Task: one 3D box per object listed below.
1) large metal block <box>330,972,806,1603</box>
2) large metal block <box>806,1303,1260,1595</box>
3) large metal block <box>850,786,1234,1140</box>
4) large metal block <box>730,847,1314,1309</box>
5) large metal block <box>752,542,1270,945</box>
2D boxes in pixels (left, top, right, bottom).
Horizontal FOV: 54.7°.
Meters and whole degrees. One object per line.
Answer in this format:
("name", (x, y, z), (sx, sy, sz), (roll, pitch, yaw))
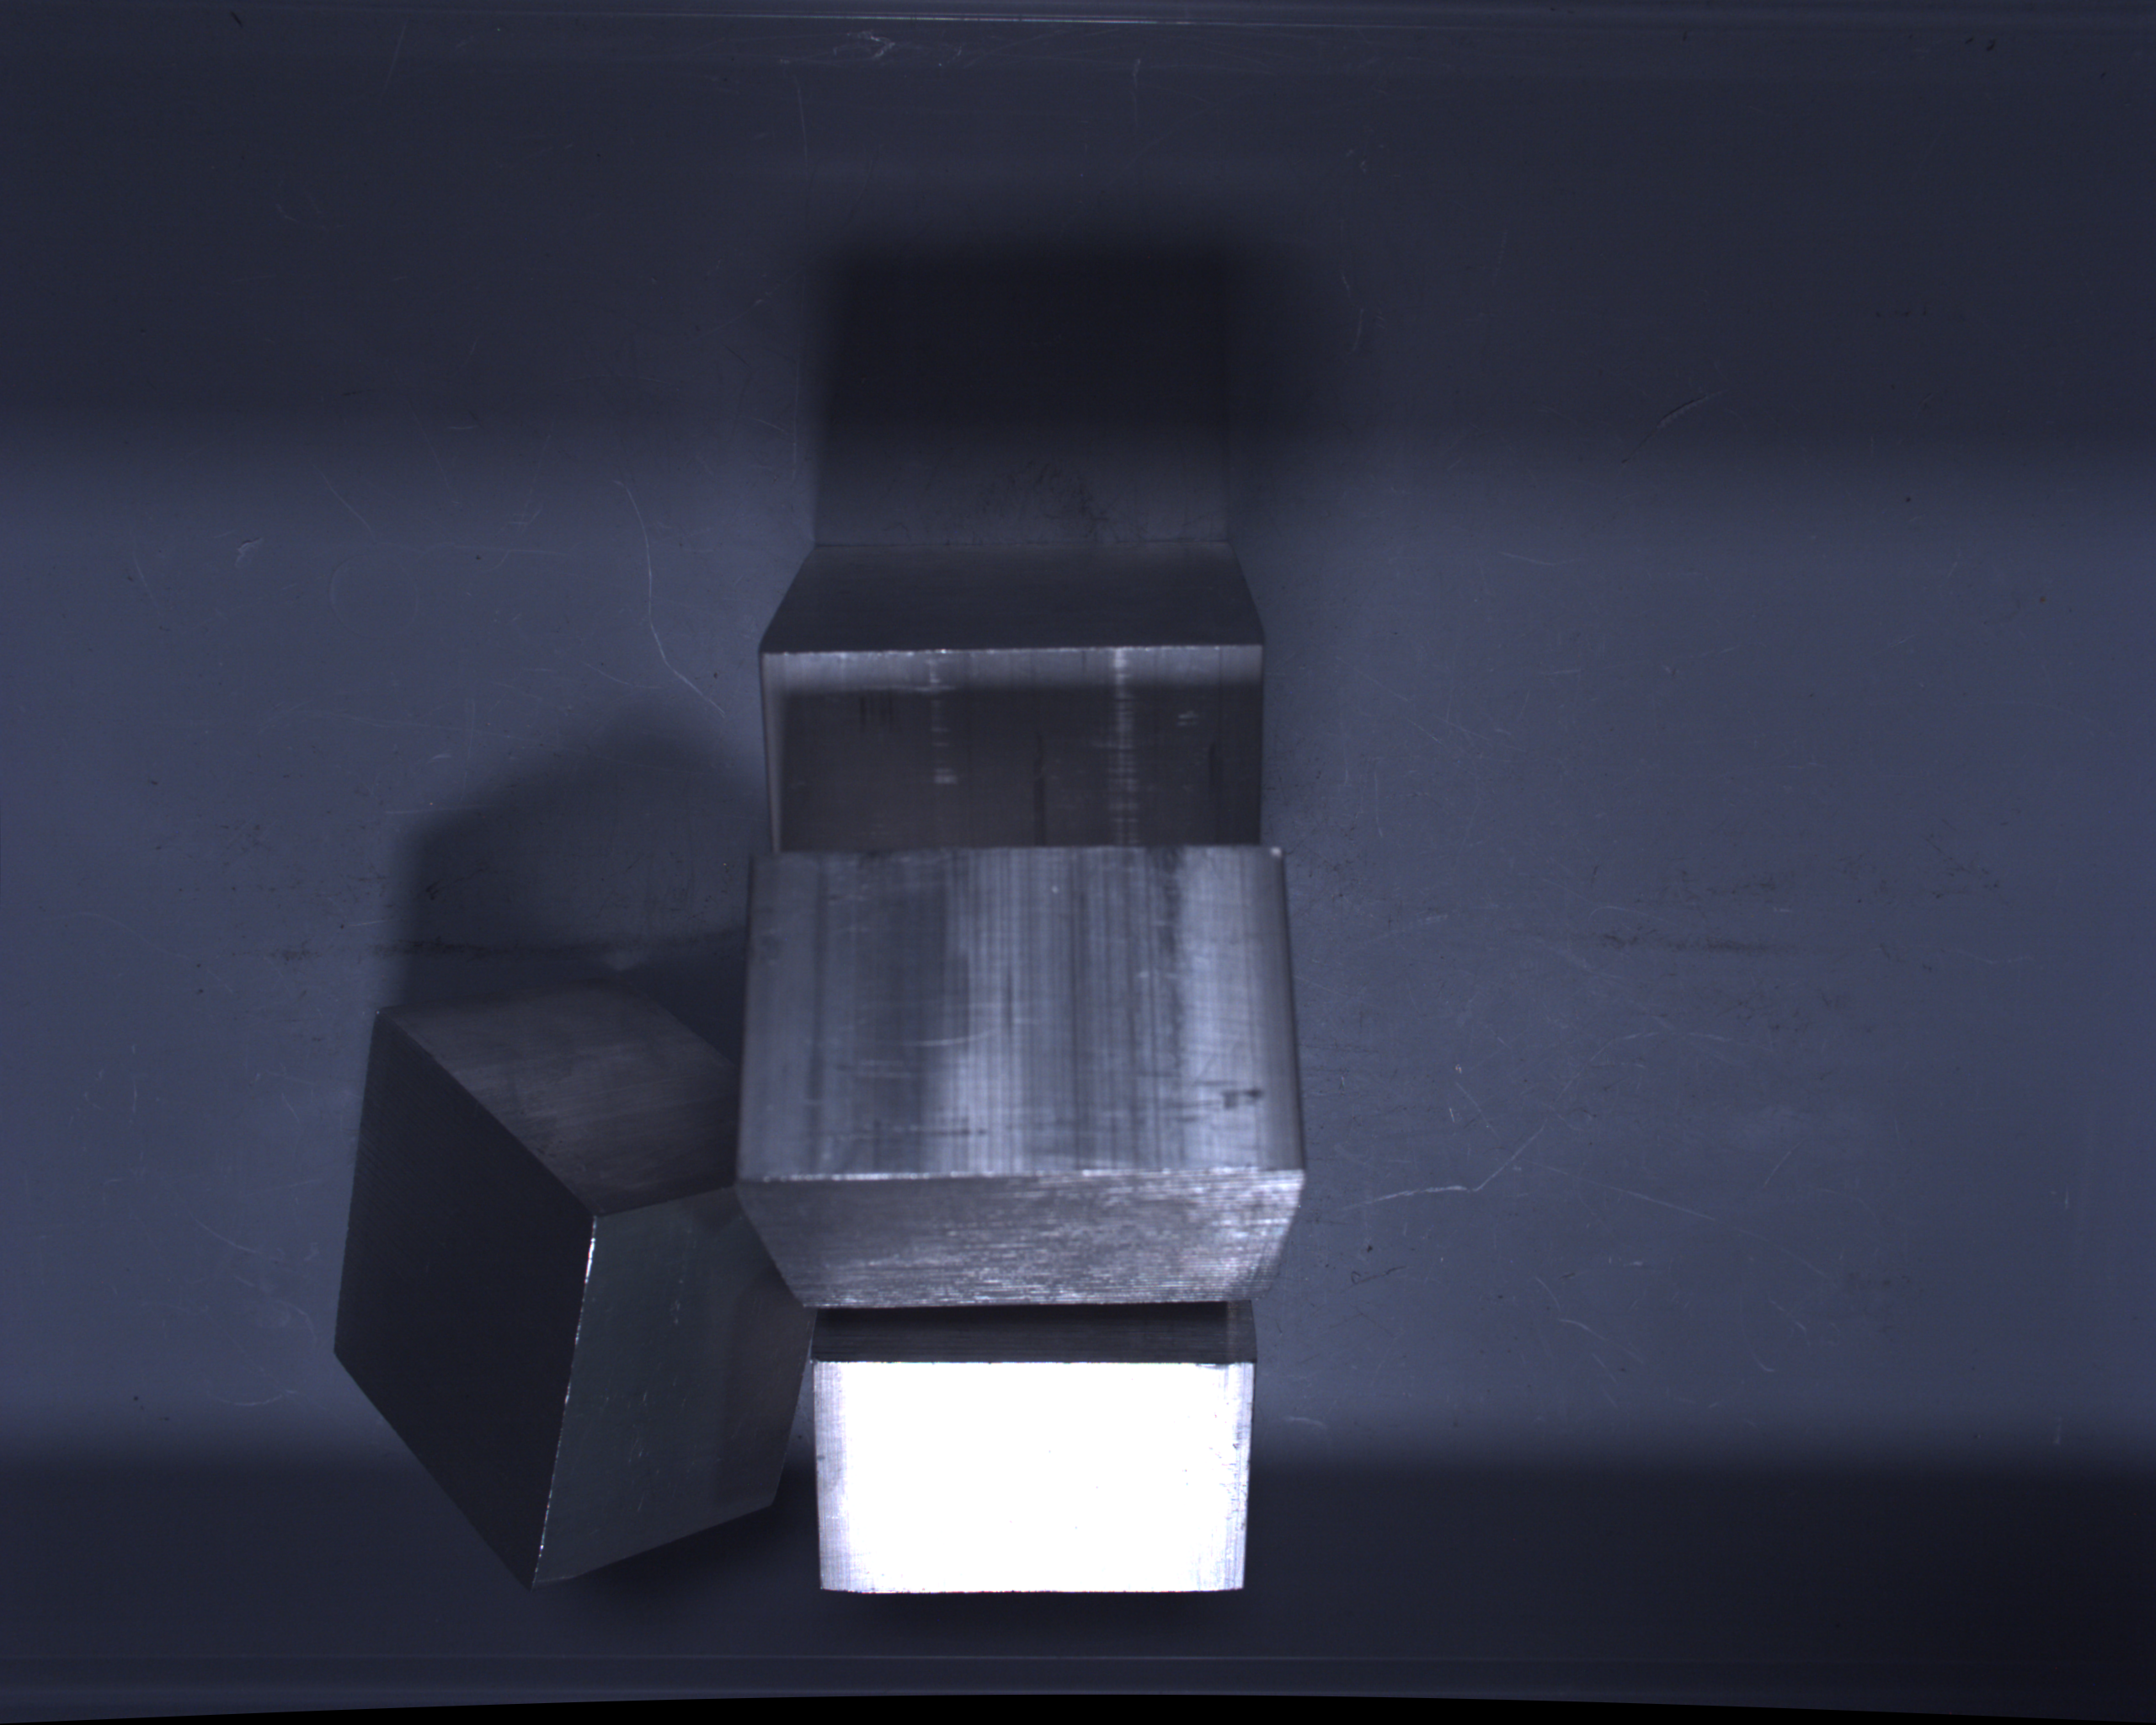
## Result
("large metal block", (-0.097, 0.077, 0.399), (0.050, 0.080, 0.079), (-7, 119, -44))
("large metal block", (-0.008, 0.099, 0.416), (0.081, 0.080, 0.050), (0, 110, -1))
("large metal block", (-0.010, 0.031, 0.409), (0.081, 0.050, 0.079), (-1, 110, 0))
("large metal block", (-0.008, 0.037, 0.334), (0.081, 0.080, 0.050), (-1, 65, 0))
("large metal block", (-0.010, -0.024, 0.370), (0.081, 0.080, 0.050), (-1, 110, 0))
